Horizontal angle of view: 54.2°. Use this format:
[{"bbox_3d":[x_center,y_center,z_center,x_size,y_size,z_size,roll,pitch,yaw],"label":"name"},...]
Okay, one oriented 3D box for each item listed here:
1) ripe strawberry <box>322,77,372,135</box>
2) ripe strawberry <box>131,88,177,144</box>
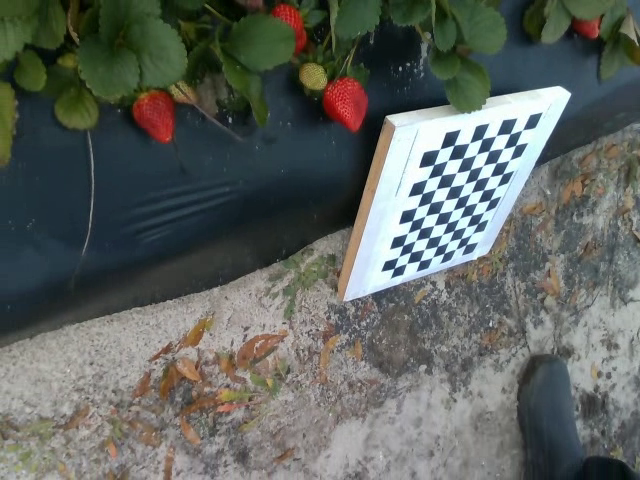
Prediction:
[{"bbox_3d":[0.029,-0.136,0.639,0.057,0.065,0.056,-25,-31,14],"label":"ripe strawberry"},{"bbox_3d":[-0.143,-0.109,0.543,0.043,0.052,0.041,-24,8,-10],"label":"ripe strawberry"}]
